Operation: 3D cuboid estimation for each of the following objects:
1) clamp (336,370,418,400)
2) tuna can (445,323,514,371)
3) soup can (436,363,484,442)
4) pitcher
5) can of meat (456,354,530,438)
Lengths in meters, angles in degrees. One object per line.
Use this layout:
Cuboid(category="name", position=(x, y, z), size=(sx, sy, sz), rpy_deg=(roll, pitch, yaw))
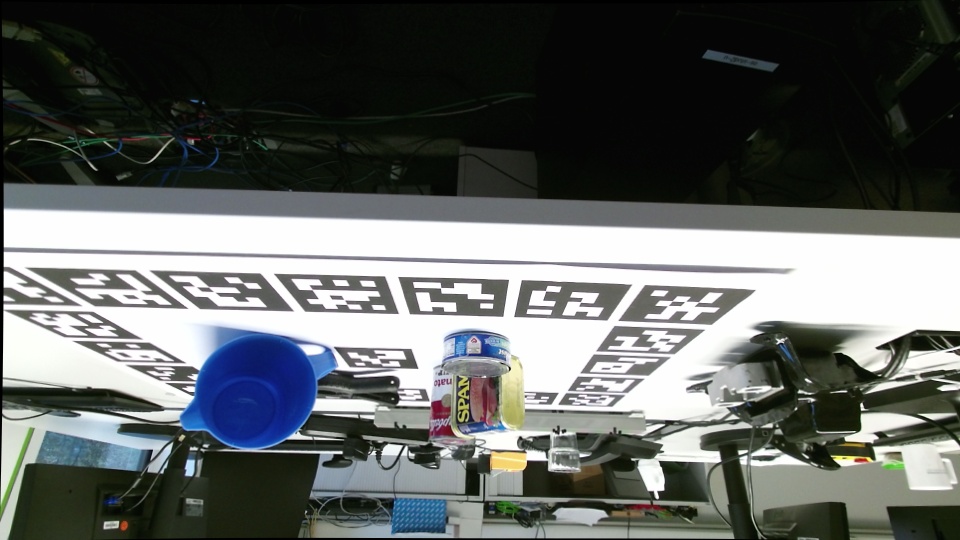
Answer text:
Cuboid(category="clamp", position=(-0.186, 0.183, 0.859), size=(0.166, 0.036, 0.122), rpy_deg=(5, 156, 1))
Cuboid(category="tuna can", position=(-0.001, 0.095, 0.670), size=(0.086, 0.033, 0.086), rpy_deg=(1, 150, 1))
Cuboid(category="soup can", position=(-0.030, 0.194, 0.787), size=(0.068, 0.101, 0.068), rpy_deg=(-1, 150, -1))
Cuboid(category="pitcher", position=(-0.300, 0.181, 0.733), size=(0.189, 0.132, 0.243), rpy_deg=(-10, 166, -27))
Cuboid(category="can of meat", position=(0.017, 0.166, 0.723), size=(0.084, 0.101, 0.058), rpy_deg=(-22, 143, 30))
